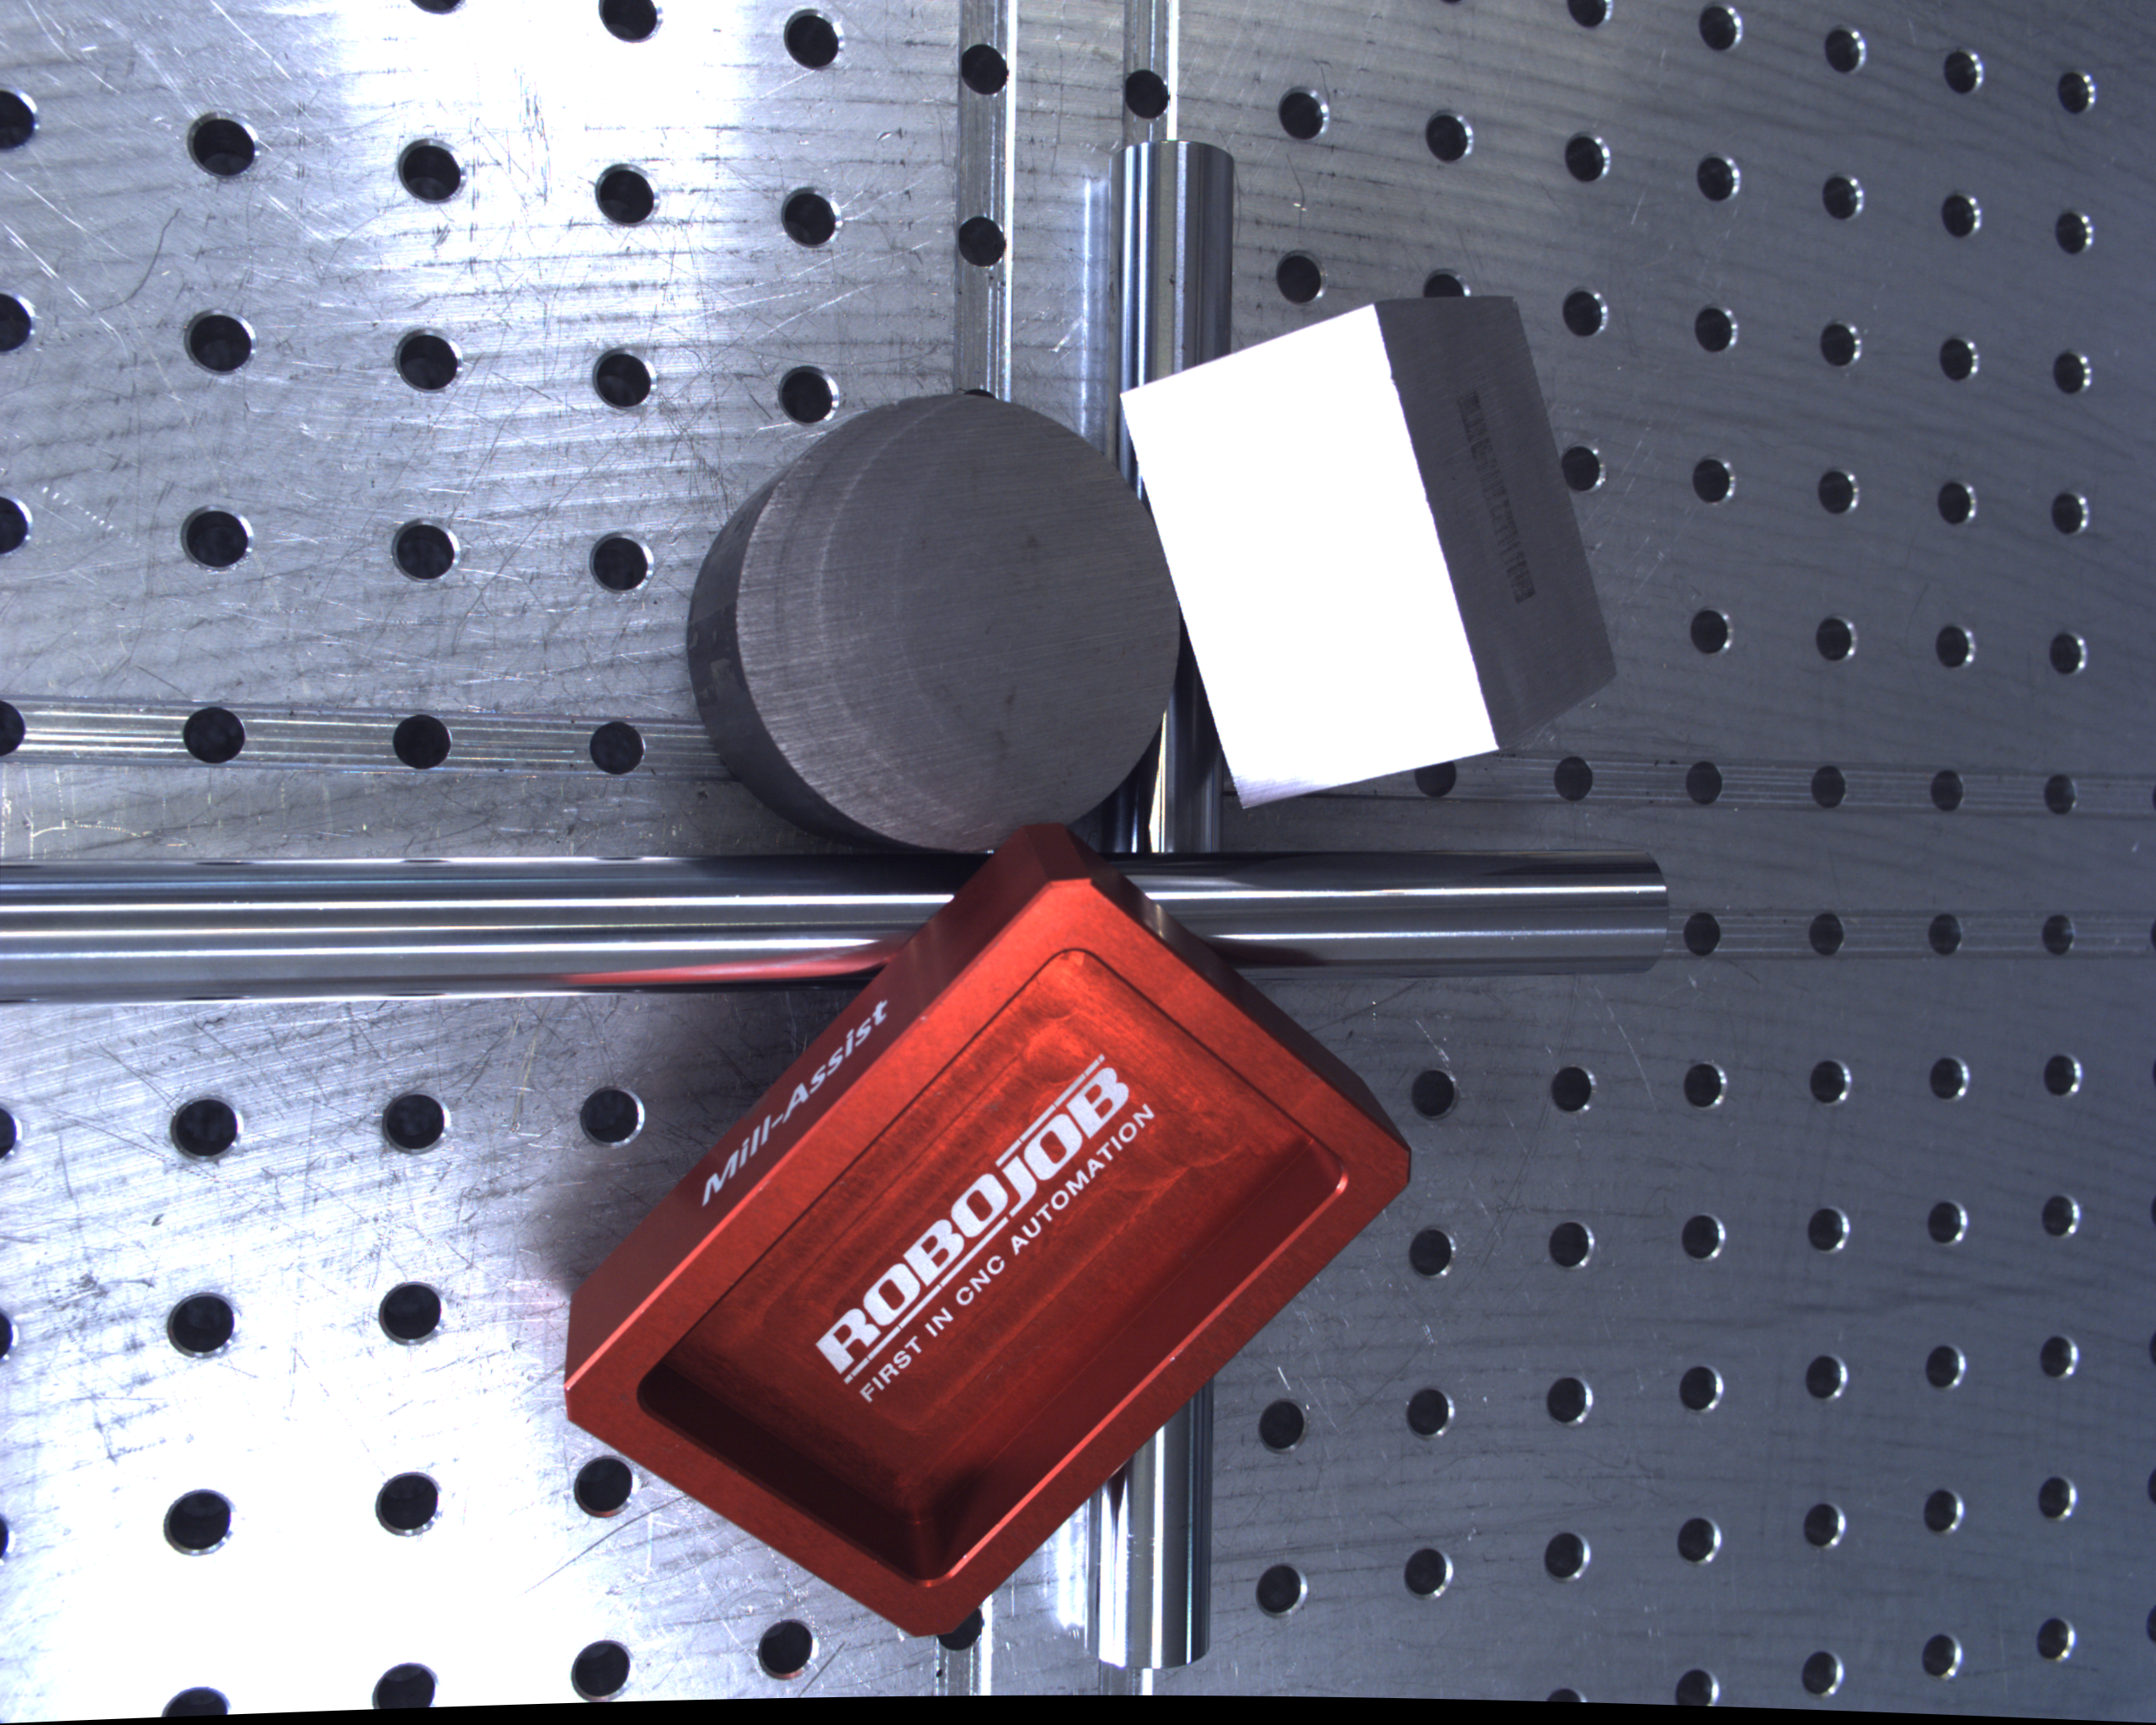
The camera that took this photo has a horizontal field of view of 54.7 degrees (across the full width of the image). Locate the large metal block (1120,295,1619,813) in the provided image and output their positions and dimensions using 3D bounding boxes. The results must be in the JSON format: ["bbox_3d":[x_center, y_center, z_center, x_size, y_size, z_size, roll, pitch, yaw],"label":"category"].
[{"bbox_3d":[0.059,-0.061,0.400,0.080,0.050,0.080,-27,102,-58],"label":"large metal block"}]

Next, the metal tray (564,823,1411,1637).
[{"bbox_3d":[-0.017,0.068,0.376,0.090,0.030,0.130,41,98,-22],"label":"metal tray"}]

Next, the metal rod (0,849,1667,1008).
[{"bbox_3d":[-0.036,0.011,0.382,0.302,0.025,0.025,0,90,-13],"label":"metal rod"}]

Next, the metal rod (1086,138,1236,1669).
[{"bbox_3d":[0.017,0.008,0.419,0.025,0.025,0.298,1,90,-20],"label":"metal rod"}]

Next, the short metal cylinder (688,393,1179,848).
[{"bbox_3d":[-0.028,-0.042,0.388,0.081,0.050,0.079,0,90,-20],"label":"short metal cylinder"}]
